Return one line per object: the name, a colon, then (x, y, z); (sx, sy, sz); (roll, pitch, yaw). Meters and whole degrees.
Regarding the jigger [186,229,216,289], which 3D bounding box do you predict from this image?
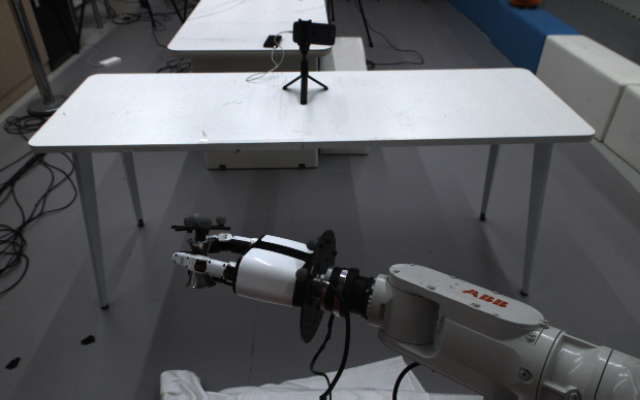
jigger: (-0.175, 0.091, 0.715); (0.043, 0.071, 0.043); (0, 3, 0)
